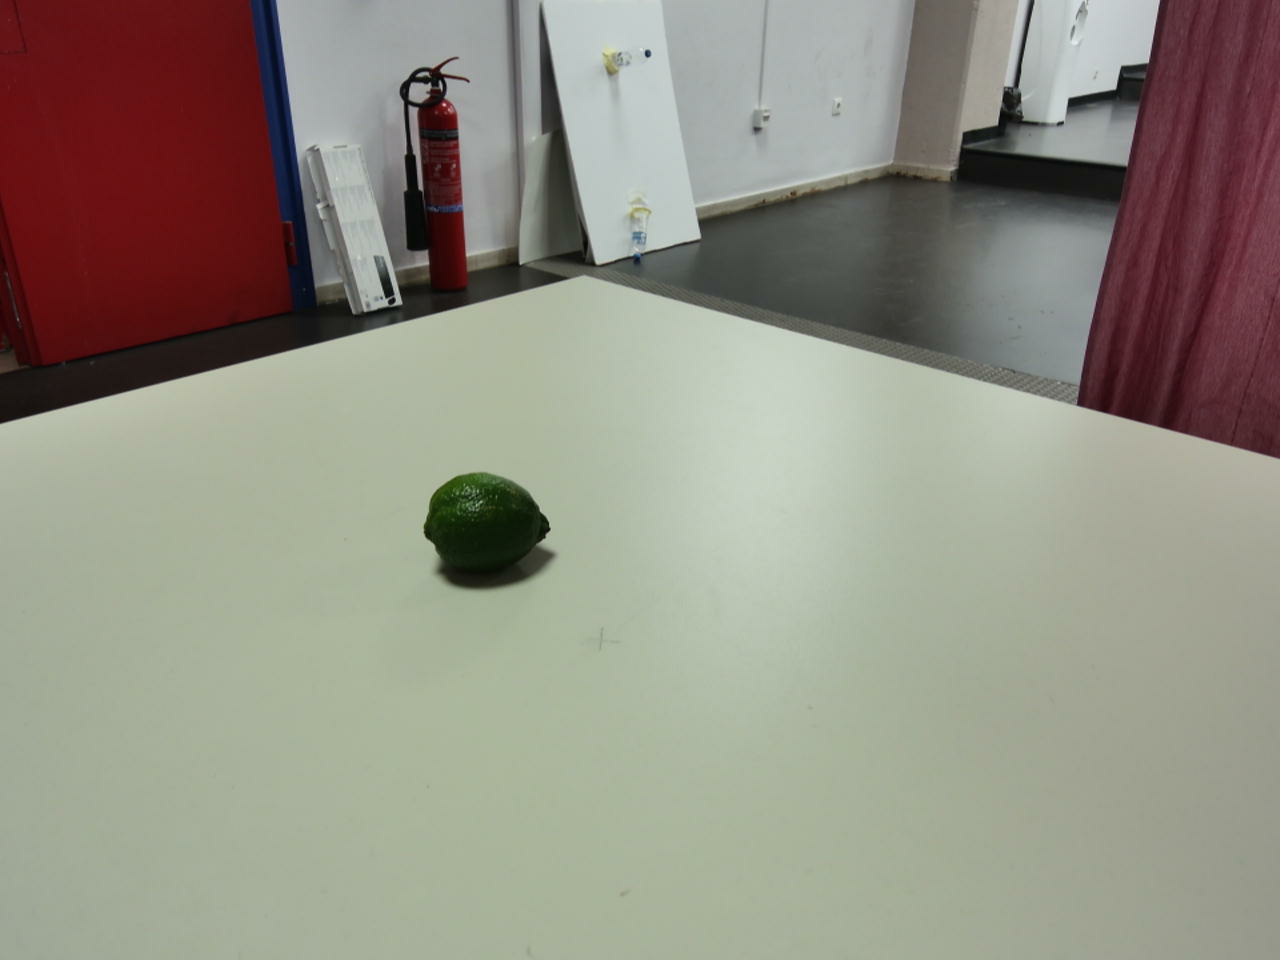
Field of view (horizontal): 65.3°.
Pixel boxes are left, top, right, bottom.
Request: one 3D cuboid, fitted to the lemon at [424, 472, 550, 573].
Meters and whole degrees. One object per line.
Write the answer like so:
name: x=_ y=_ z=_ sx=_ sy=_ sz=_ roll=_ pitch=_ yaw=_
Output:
lemon: x=-0.081 y=0.021 z=0.508 sx=0.054 sy=0.051 sz=0.057 roll=17 pitch=29 yaw=33
